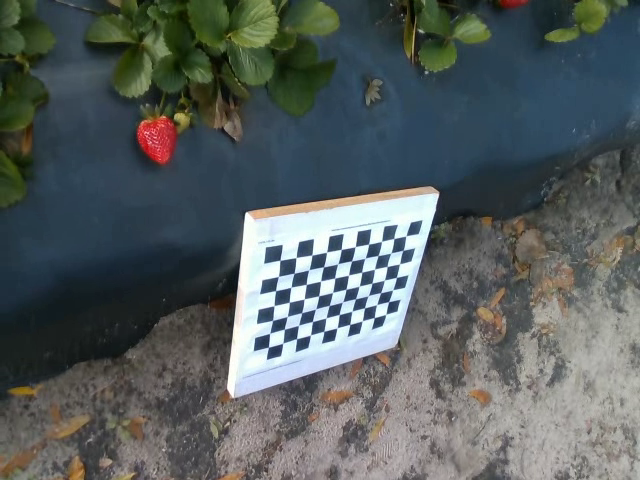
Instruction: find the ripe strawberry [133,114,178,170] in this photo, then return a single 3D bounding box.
[{"bbox_3d":[-0.170,-0.102,0.579,0.045,0.058,0.050,-6,-17,-33],"label":"ripe strawberry"}]
